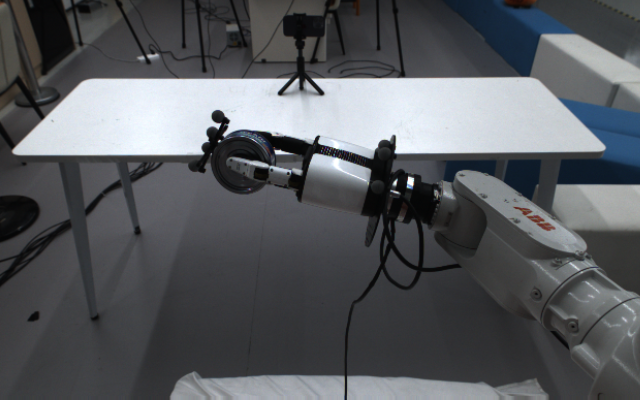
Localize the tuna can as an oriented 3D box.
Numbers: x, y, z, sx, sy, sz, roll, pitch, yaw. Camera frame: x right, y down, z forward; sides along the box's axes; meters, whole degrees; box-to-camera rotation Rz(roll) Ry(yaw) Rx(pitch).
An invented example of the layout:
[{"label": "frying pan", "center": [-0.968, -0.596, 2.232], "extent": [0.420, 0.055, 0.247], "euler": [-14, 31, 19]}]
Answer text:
[{"label": "tuna can", "center": [-0.103, -0.049, 0.668], "extent": [0.085, 0.085, 0.034], "euler": [3, 22, 2]}]
